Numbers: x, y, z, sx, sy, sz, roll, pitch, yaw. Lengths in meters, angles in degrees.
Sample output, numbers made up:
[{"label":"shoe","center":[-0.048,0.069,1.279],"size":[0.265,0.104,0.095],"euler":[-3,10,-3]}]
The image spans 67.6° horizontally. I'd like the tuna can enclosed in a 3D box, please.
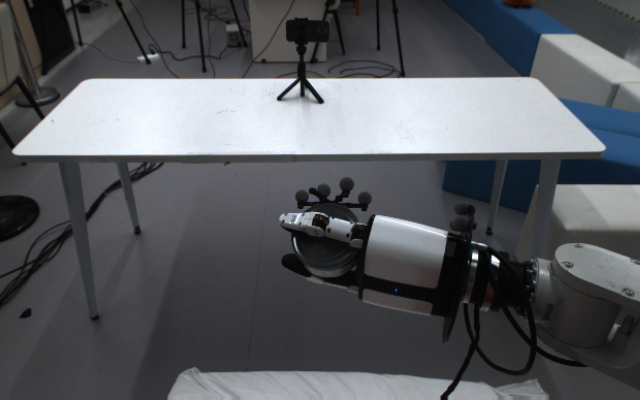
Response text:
[{"label":"tuna can","center":[0.012,0.052,0.579],"size":[0.085,0.034,0.085],"euler":[-4,62,7]}]
